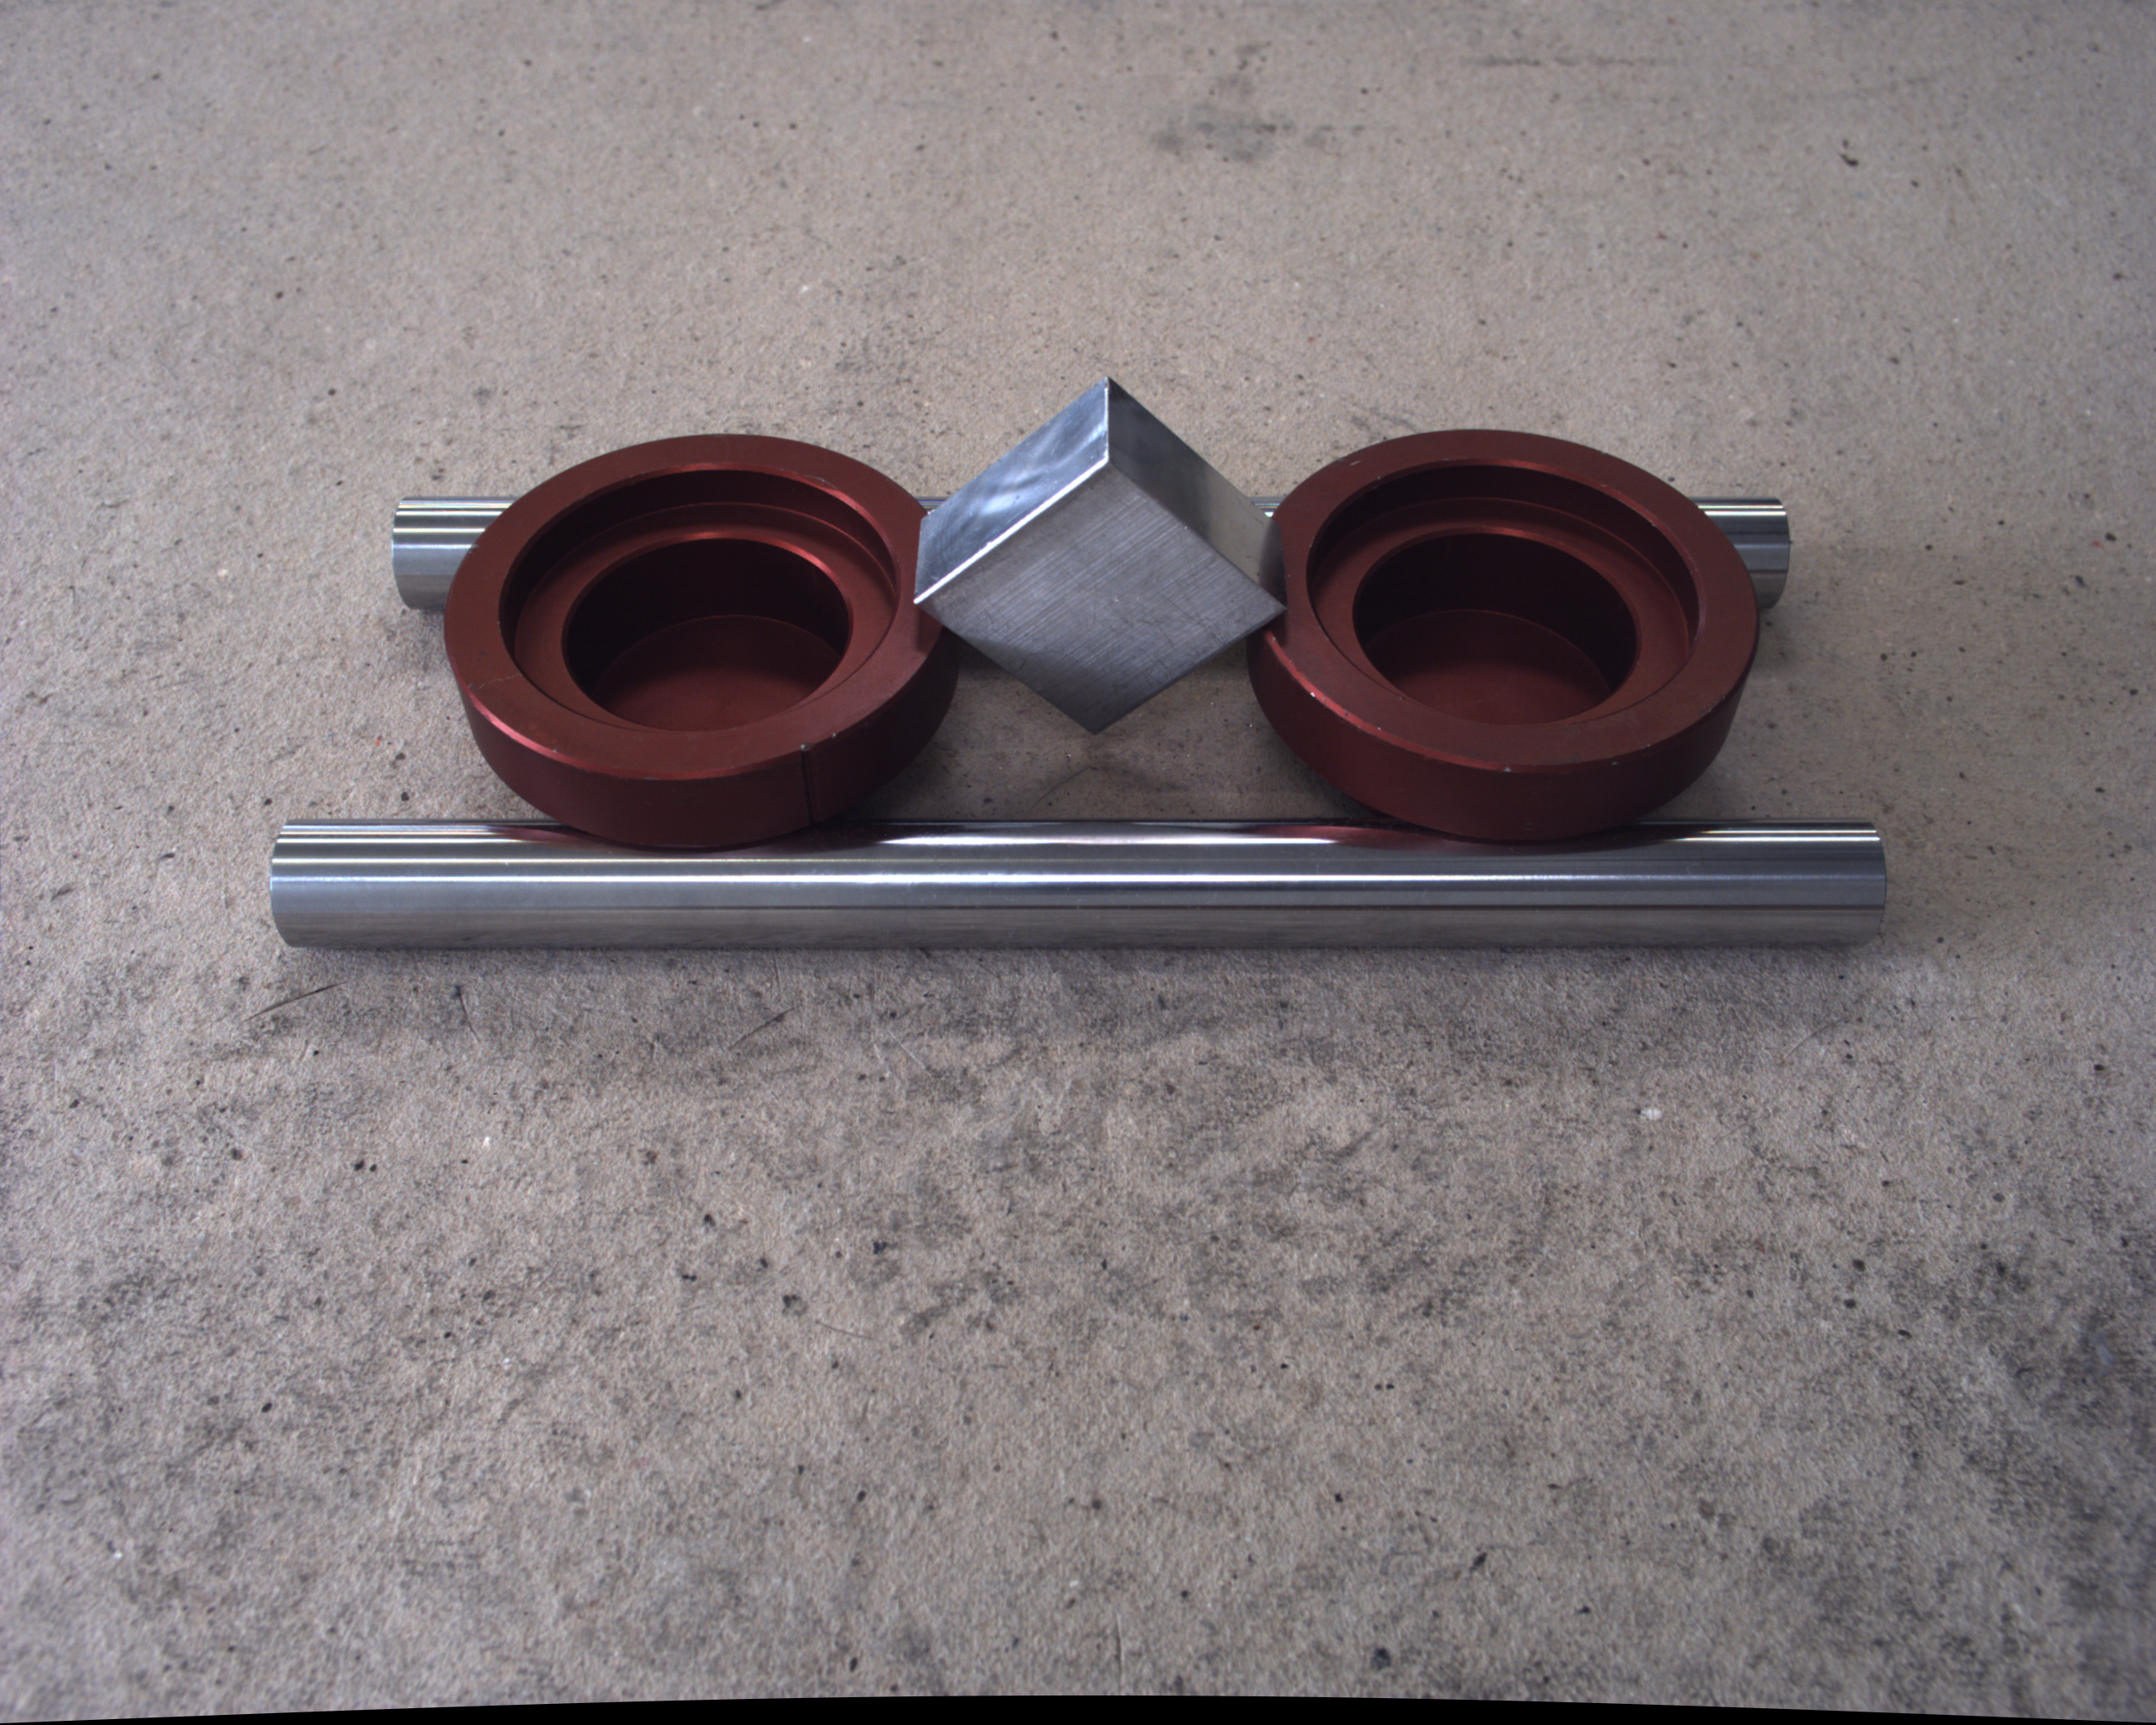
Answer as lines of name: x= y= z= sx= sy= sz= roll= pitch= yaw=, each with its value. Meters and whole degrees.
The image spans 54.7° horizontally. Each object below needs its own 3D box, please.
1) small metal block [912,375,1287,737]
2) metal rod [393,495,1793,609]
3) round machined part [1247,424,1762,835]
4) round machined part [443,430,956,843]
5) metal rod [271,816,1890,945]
small metal block: x=0.004 y=-0.058 z=0.403 sx=0.050 sy=0.050 sz=0.025 roll=-31 pitch=40 yaw=31
metal rod: x=0.004 y=-0.069 z=0.462 sx=0.302 sy=0.025 sz=0.025 roll=0 pitch=50 yaw=0
round machined part: x=0.083 y=-0.042 z=0.423 sx=0.099 sy=0.042 sz=0.098 roll=0 pitch=50 yaw=0
round machined part: x=-0.074 y=-0.040 z=0.421 sx=0.099 sy=0.042 sz=0.098 roll=0 pitch=50 yaw=0
metal rod: x=0.001 y=0.003 z=0.401 sx=0.302 sy=0.025 sz=0.025 roll=0 pitch=50 yaw=0
